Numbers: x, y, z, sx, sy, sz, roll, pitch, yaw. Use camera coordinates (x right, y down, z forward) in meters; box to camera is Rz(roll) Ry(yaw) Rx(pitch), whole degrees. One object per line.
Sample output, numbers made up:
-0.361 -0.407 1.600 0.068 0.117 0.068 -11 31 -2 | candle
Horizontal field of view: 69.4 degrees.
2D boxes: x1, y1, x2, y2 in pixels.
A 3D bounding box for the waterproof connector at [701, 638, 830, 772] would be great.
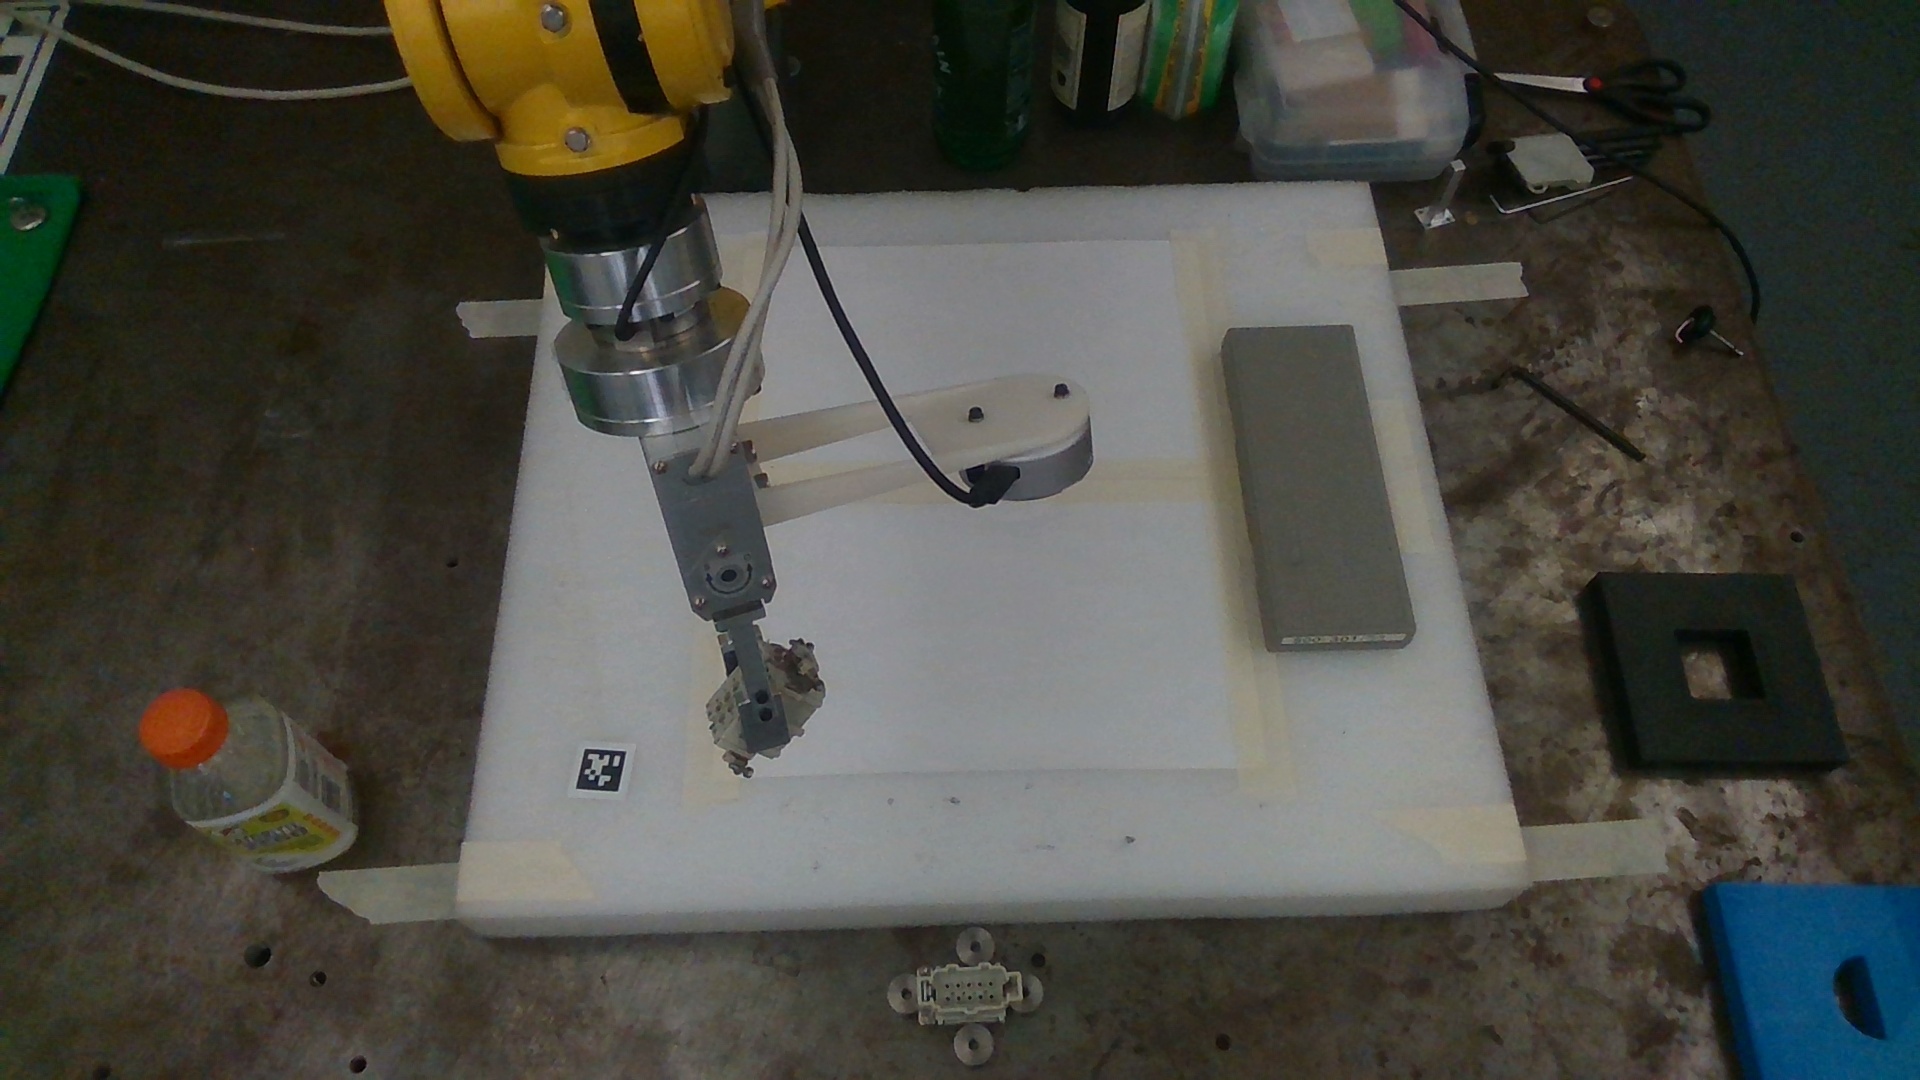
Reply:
-0.093 0.081 0.672 0.069 0.038 0.037 -43 41 7 | waterproof connector
